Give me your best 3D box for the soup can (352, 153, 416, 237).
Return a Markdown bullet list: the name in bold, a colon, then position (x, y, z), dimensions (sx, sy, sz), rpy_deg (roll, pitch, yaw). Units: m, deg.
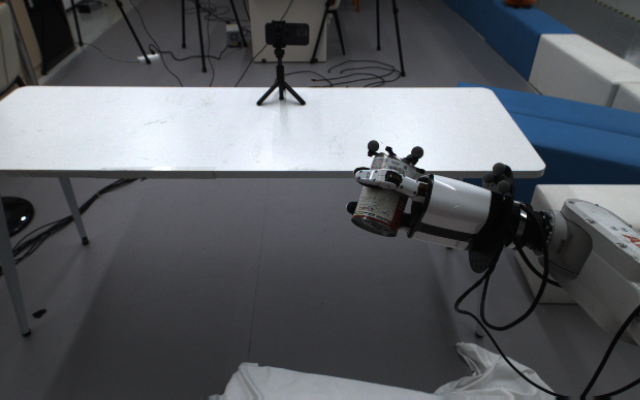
- **soup can**: position (0.094, -0.006, 0.697), dimensions (0.067, 0.067, 0.101), rpy_deg (15, 75, 18)
